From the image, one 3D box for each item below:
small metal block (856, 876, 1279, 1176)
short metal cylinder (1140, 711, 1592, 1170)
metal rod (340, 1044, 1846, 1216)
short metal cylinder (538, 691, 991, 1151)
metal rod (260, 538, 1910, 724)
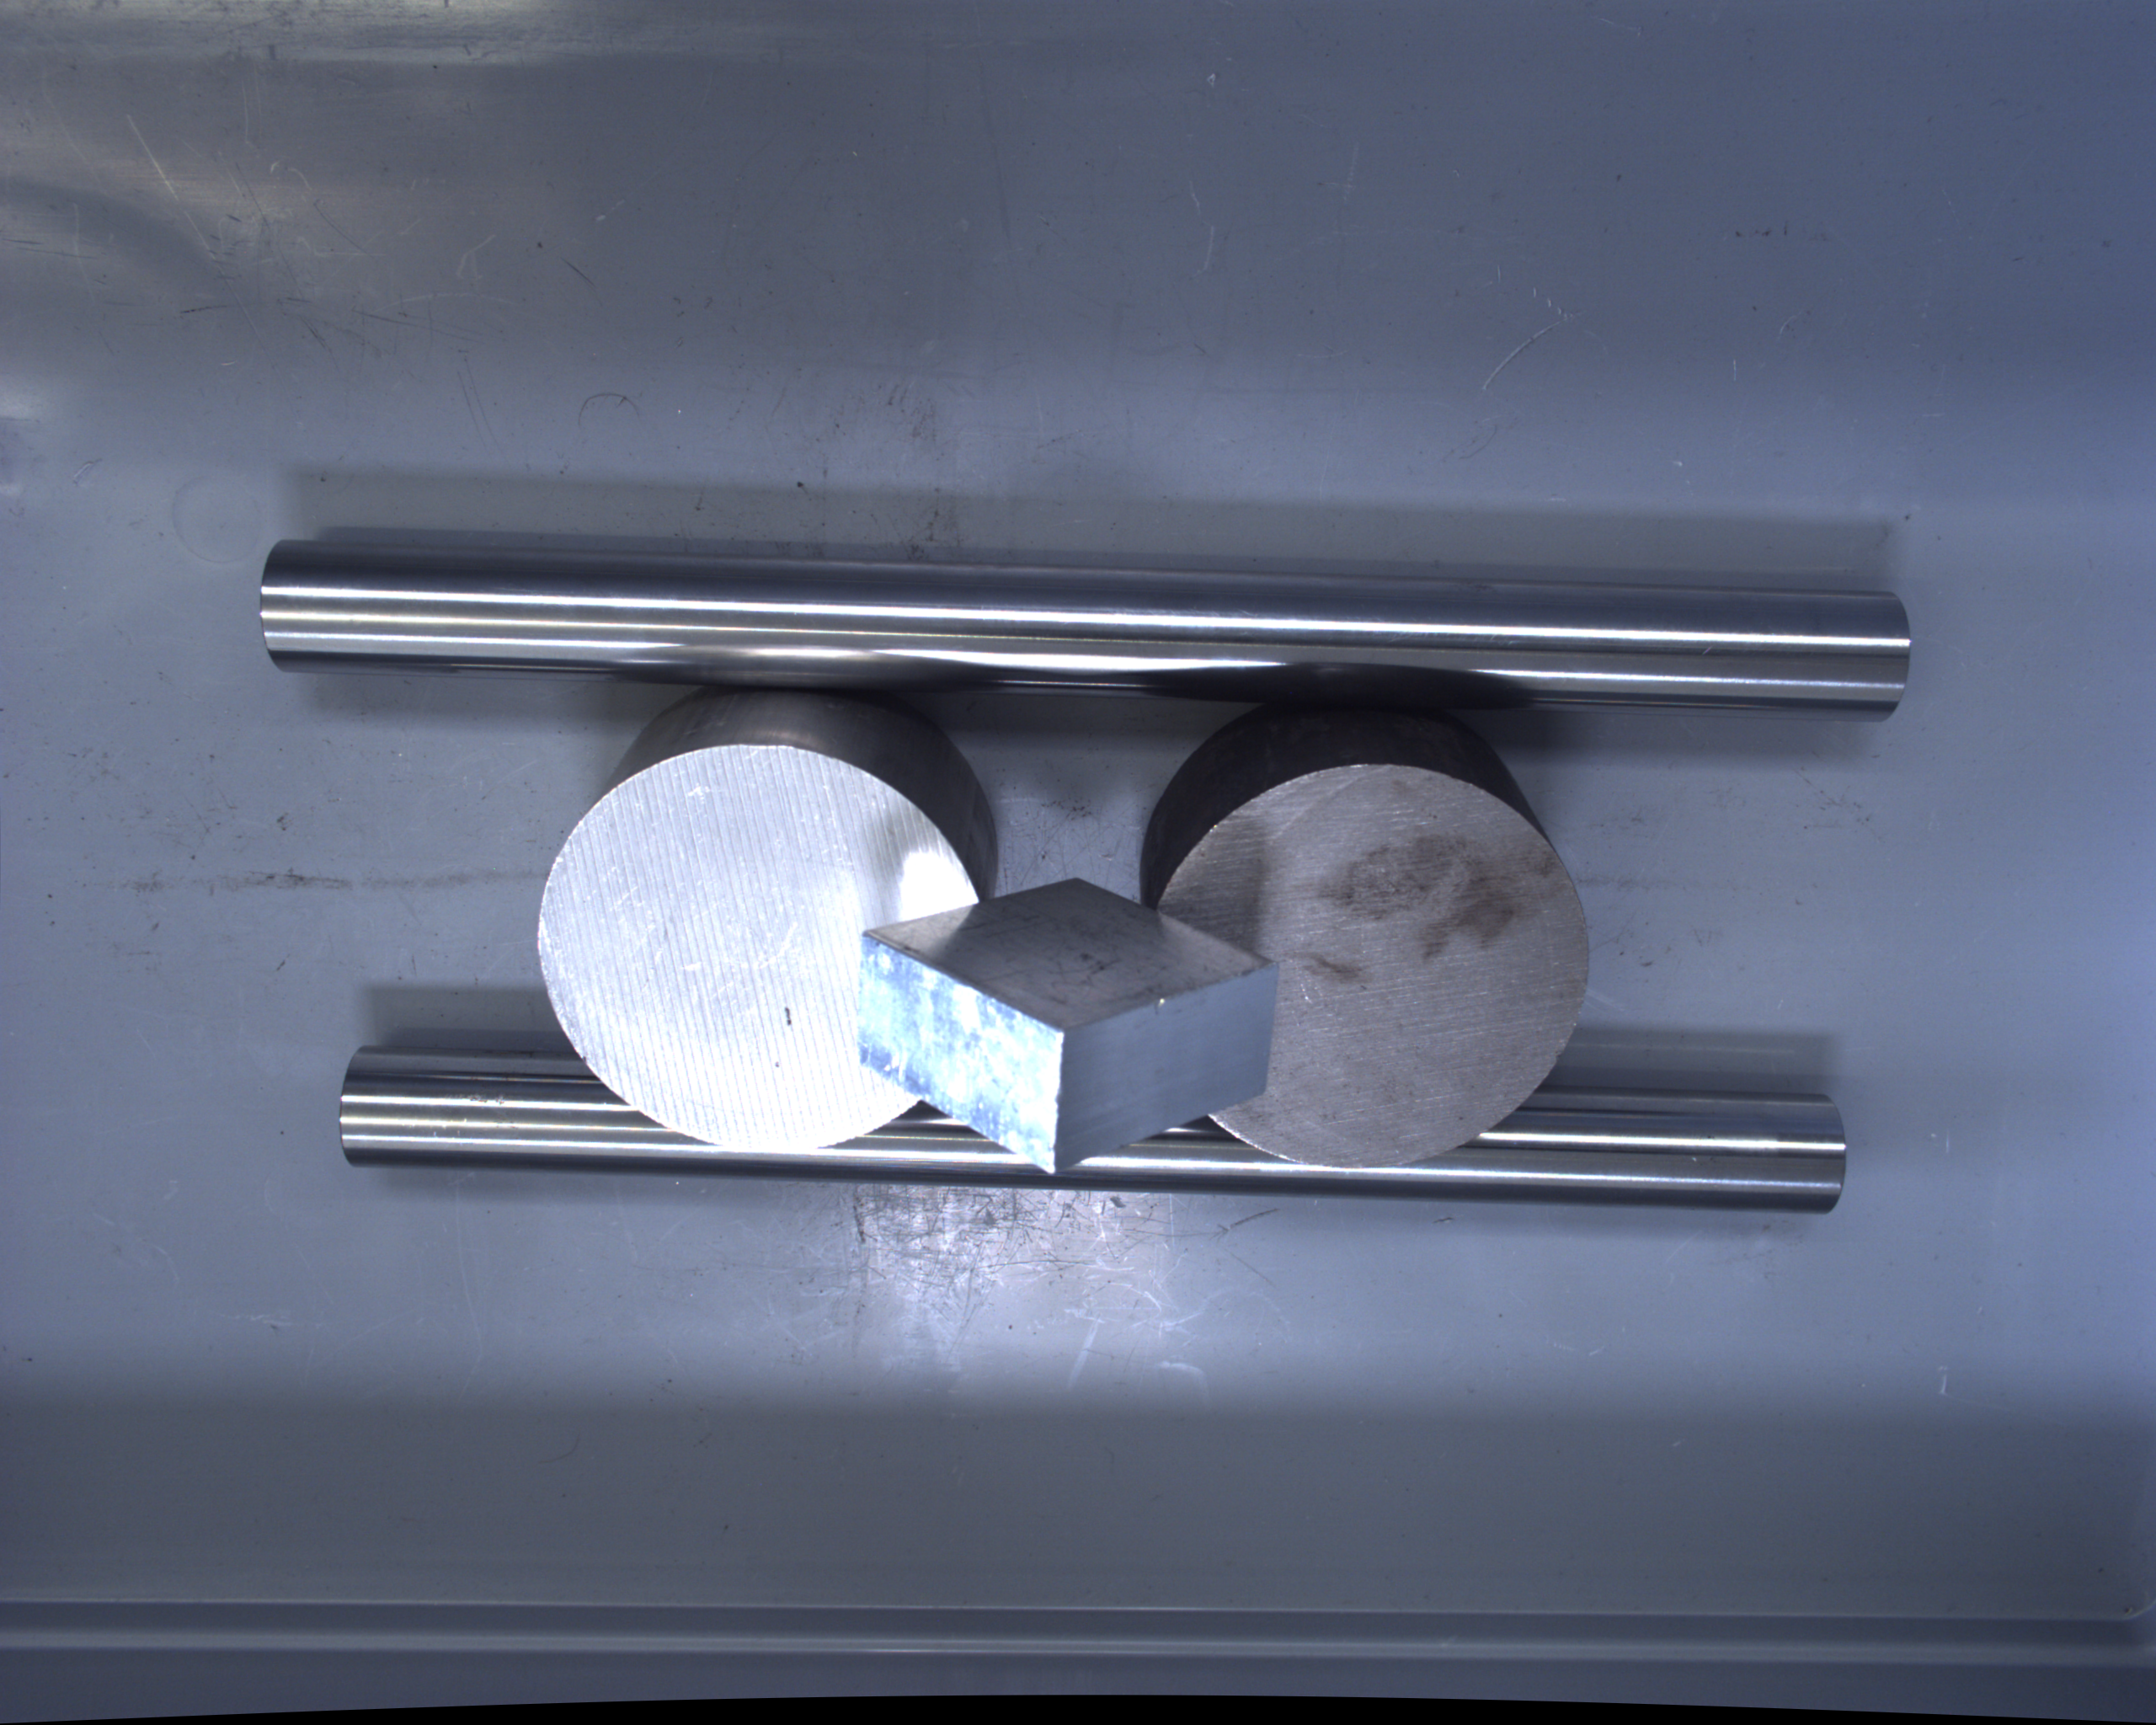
[{"bbox_3d":[-0.002,0.026,0.357,0.050,0.050,0.025,-14,116,-42],"label":"small metal block"},{"bbox_3d":[0.053,0.012,0.401,0.081,0.050,0.079,0,110,0],"label":"short metal cylinder"},{"bbox_3d":[0.004,0.055,0.430,0.302,0.025,0.025,2,110,-1],"label":"metal rod"},{"bbox_3d":[-0.057,0.008,0.399,0.081,0.050,0.079,0,110,0],"label":"short metal cylinder"},{"bbox_3d":[0.002,-0.043,0.394,0.302,0.025,0.025,2,110,-1],"label":"metal rod"}]
